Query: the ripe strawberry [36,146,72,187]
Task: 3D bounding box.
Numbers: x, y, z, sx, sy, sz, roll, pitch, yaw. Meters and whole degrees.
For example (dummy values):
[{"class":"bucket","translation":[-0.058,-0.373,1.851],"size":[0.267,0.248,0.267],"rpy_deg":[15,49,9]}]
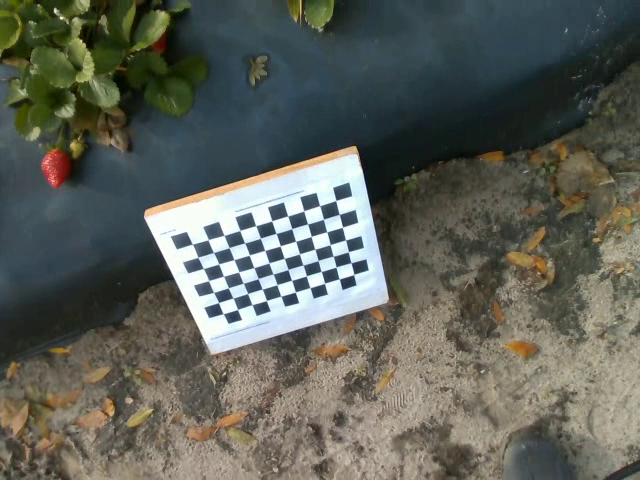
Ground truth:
[{"class":"ripe strawberry","translation":[-0.347,-0.091,0.801],"size":[0.045,0.058,0.051],"rpy_deg":[-14,-12,-3]}]
